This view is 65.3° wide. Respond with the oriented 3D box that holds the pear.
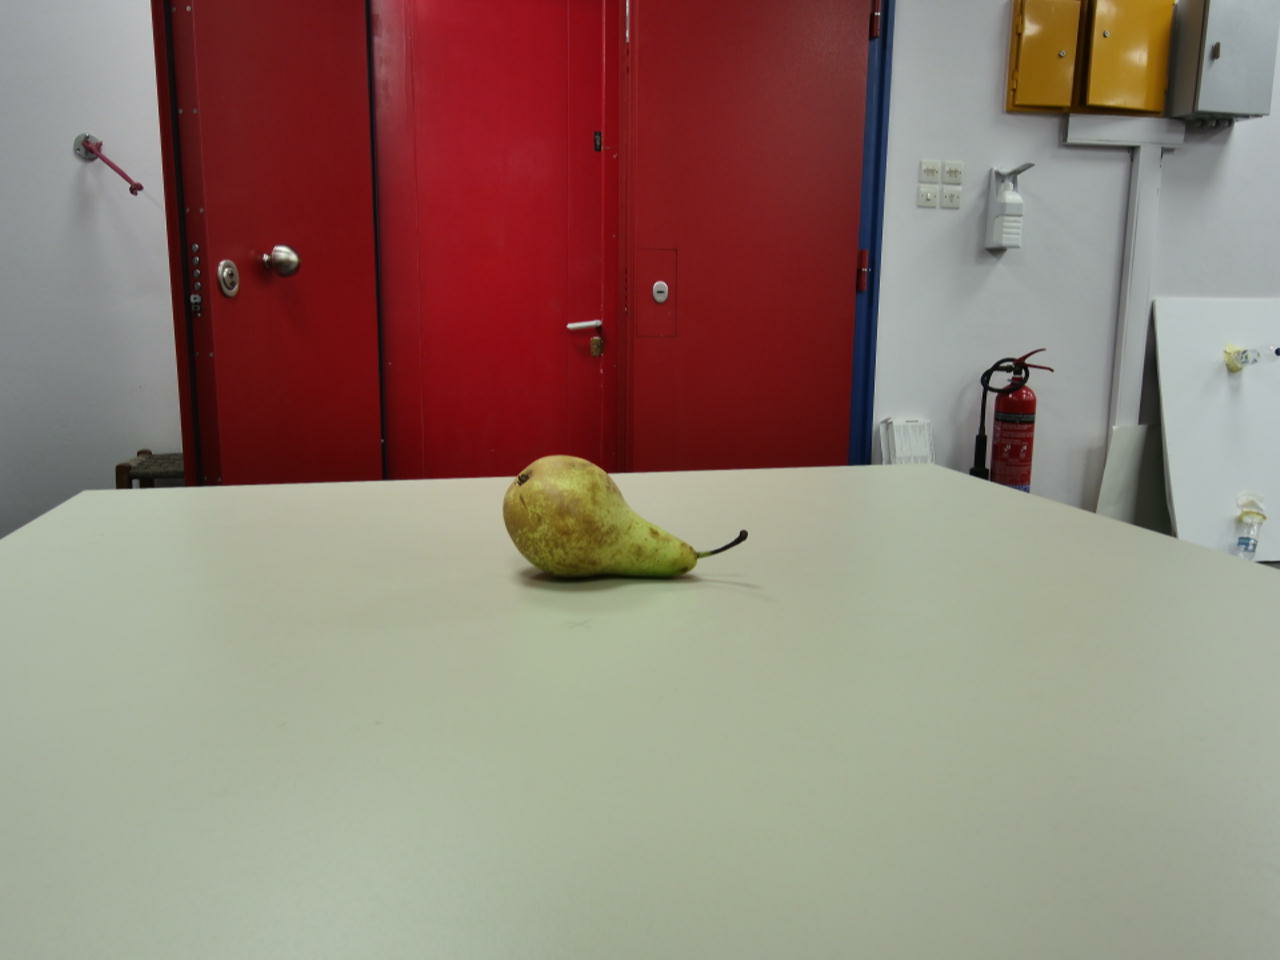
[{"bbox_3d":[-0.011,0.022,0.613,0.144,0.075,0.071,-1,8,-5],"label":"pear"}]
